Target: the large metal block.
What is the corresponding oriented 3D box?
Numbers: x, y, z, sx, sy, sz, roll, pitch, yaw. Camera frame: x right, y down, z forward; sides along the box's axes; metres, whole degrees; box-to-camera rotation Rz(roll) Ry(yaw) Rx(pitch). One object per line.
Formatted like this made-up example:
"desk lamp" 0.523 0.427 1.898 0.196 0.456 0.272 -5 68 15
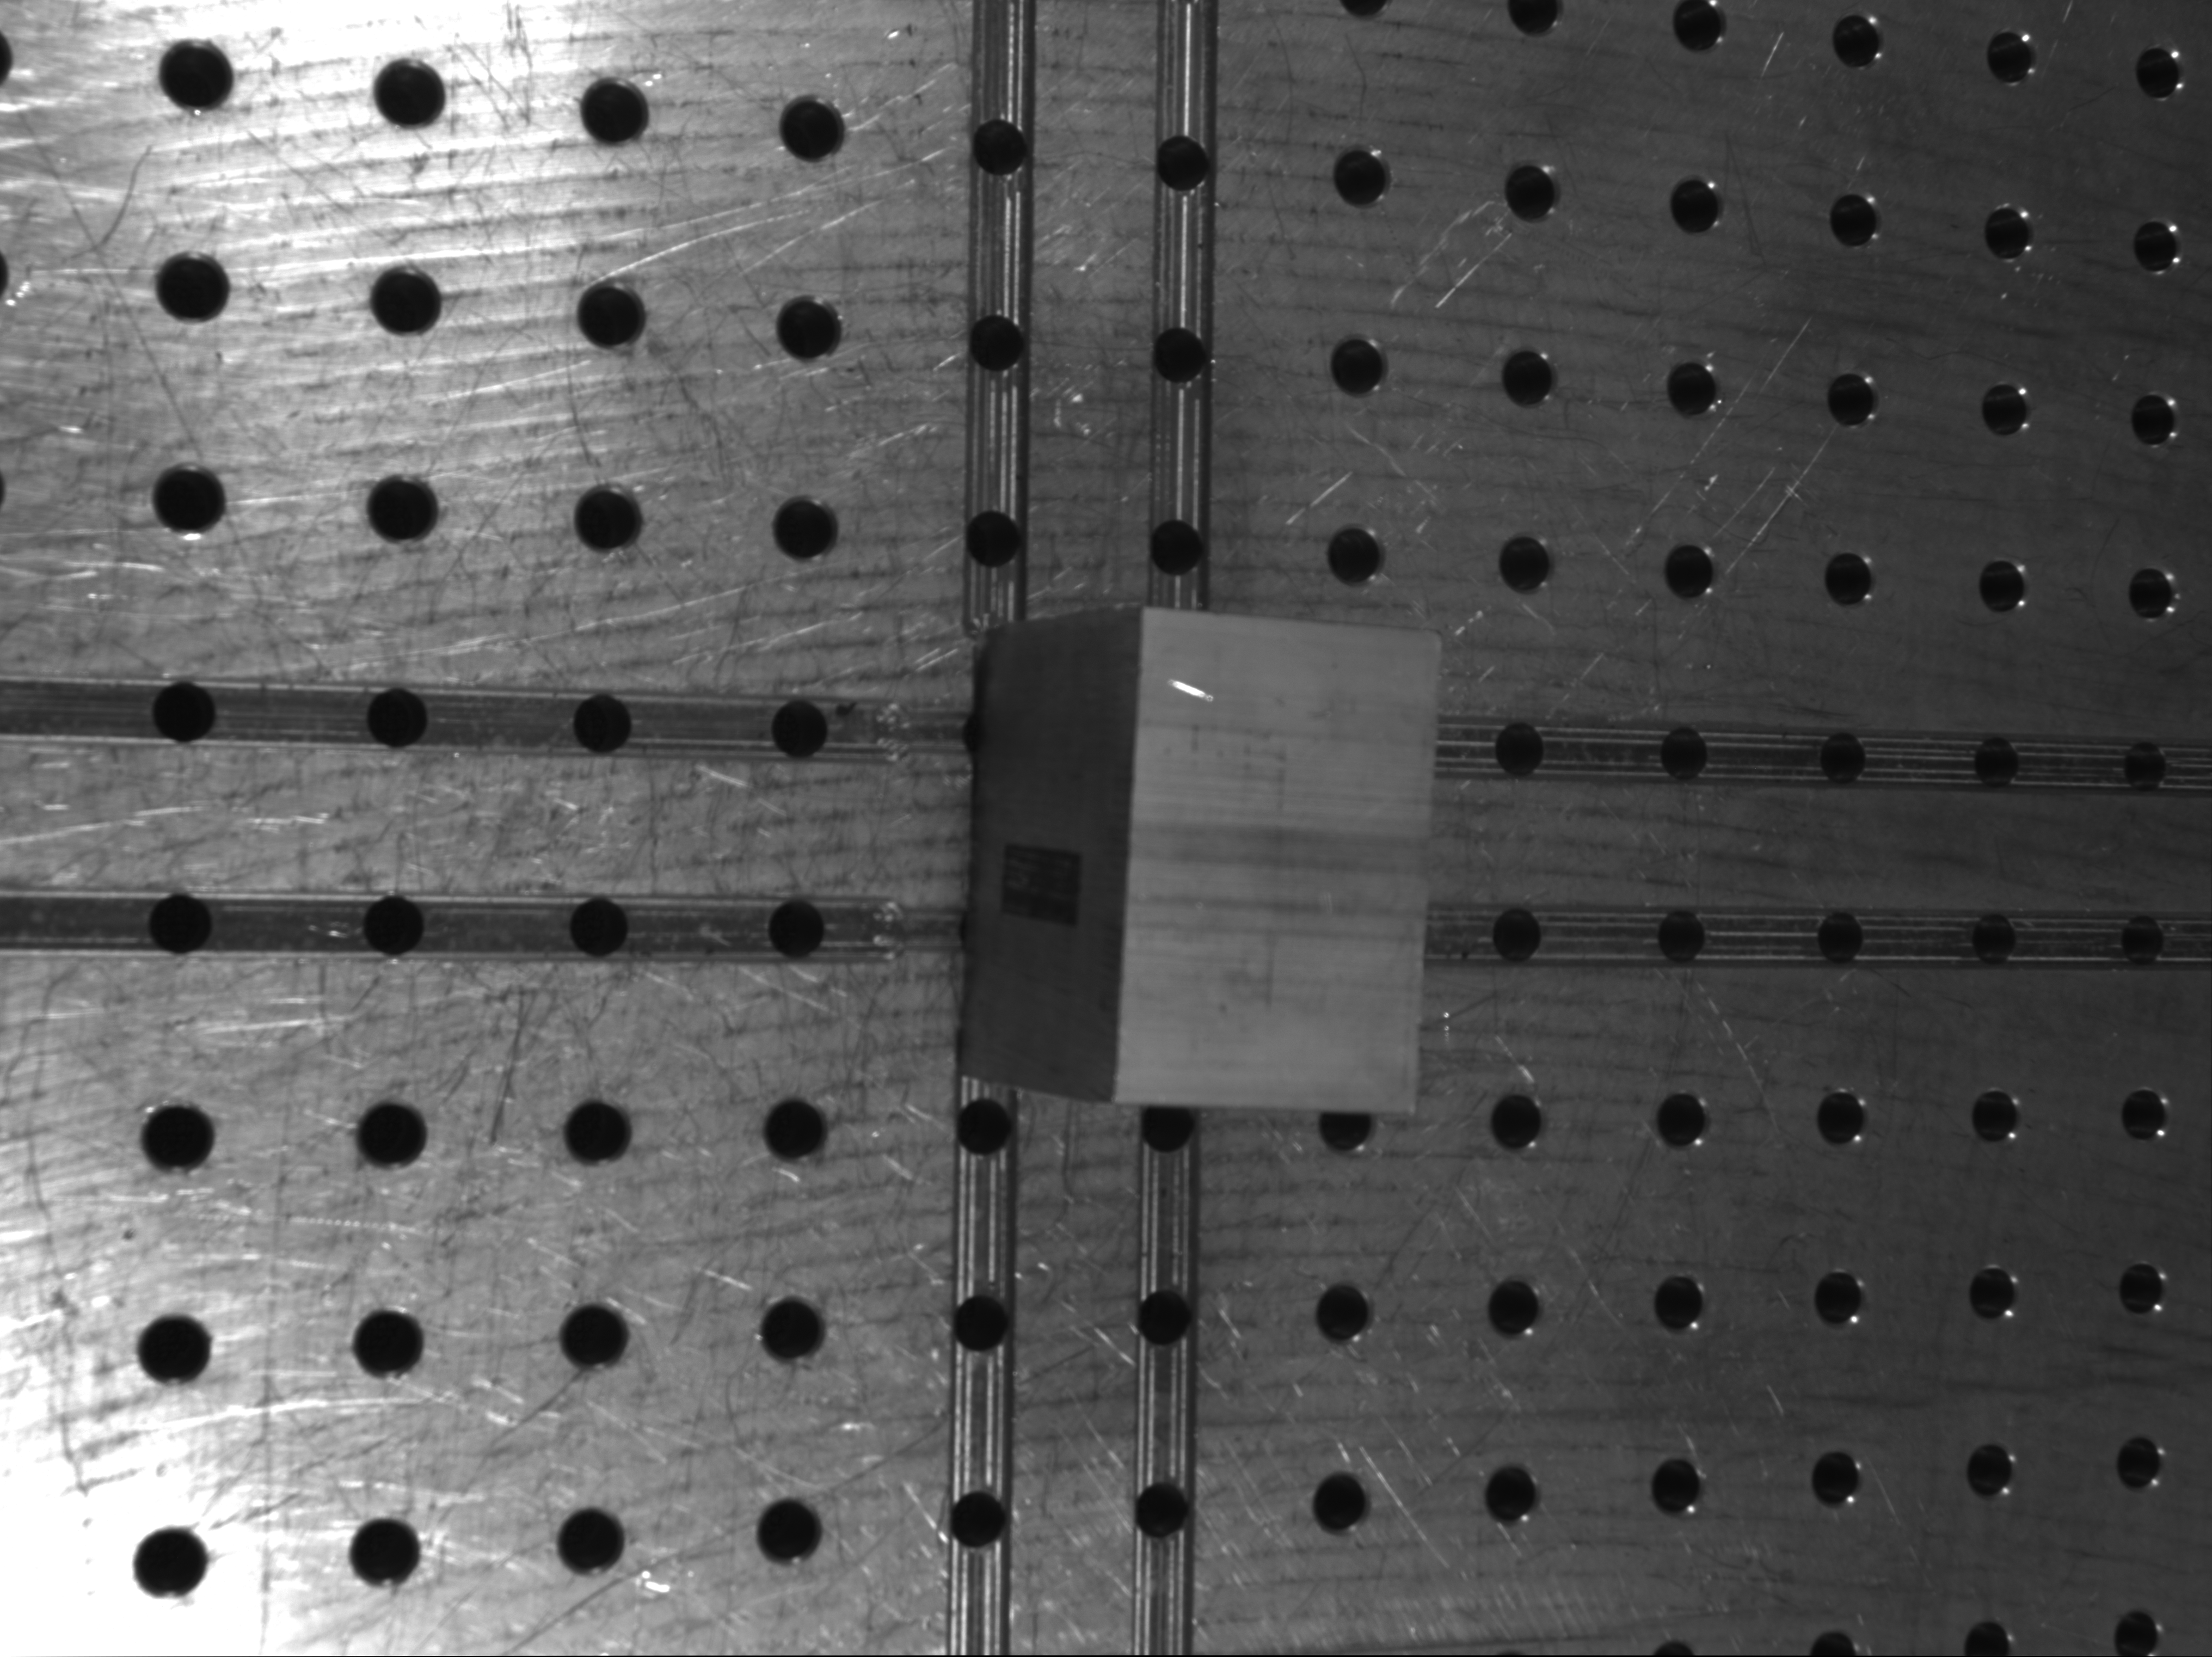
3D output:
"large metal block" 0.017 0.006 0.622 0.050 0.080 0.080 4 89 -20
